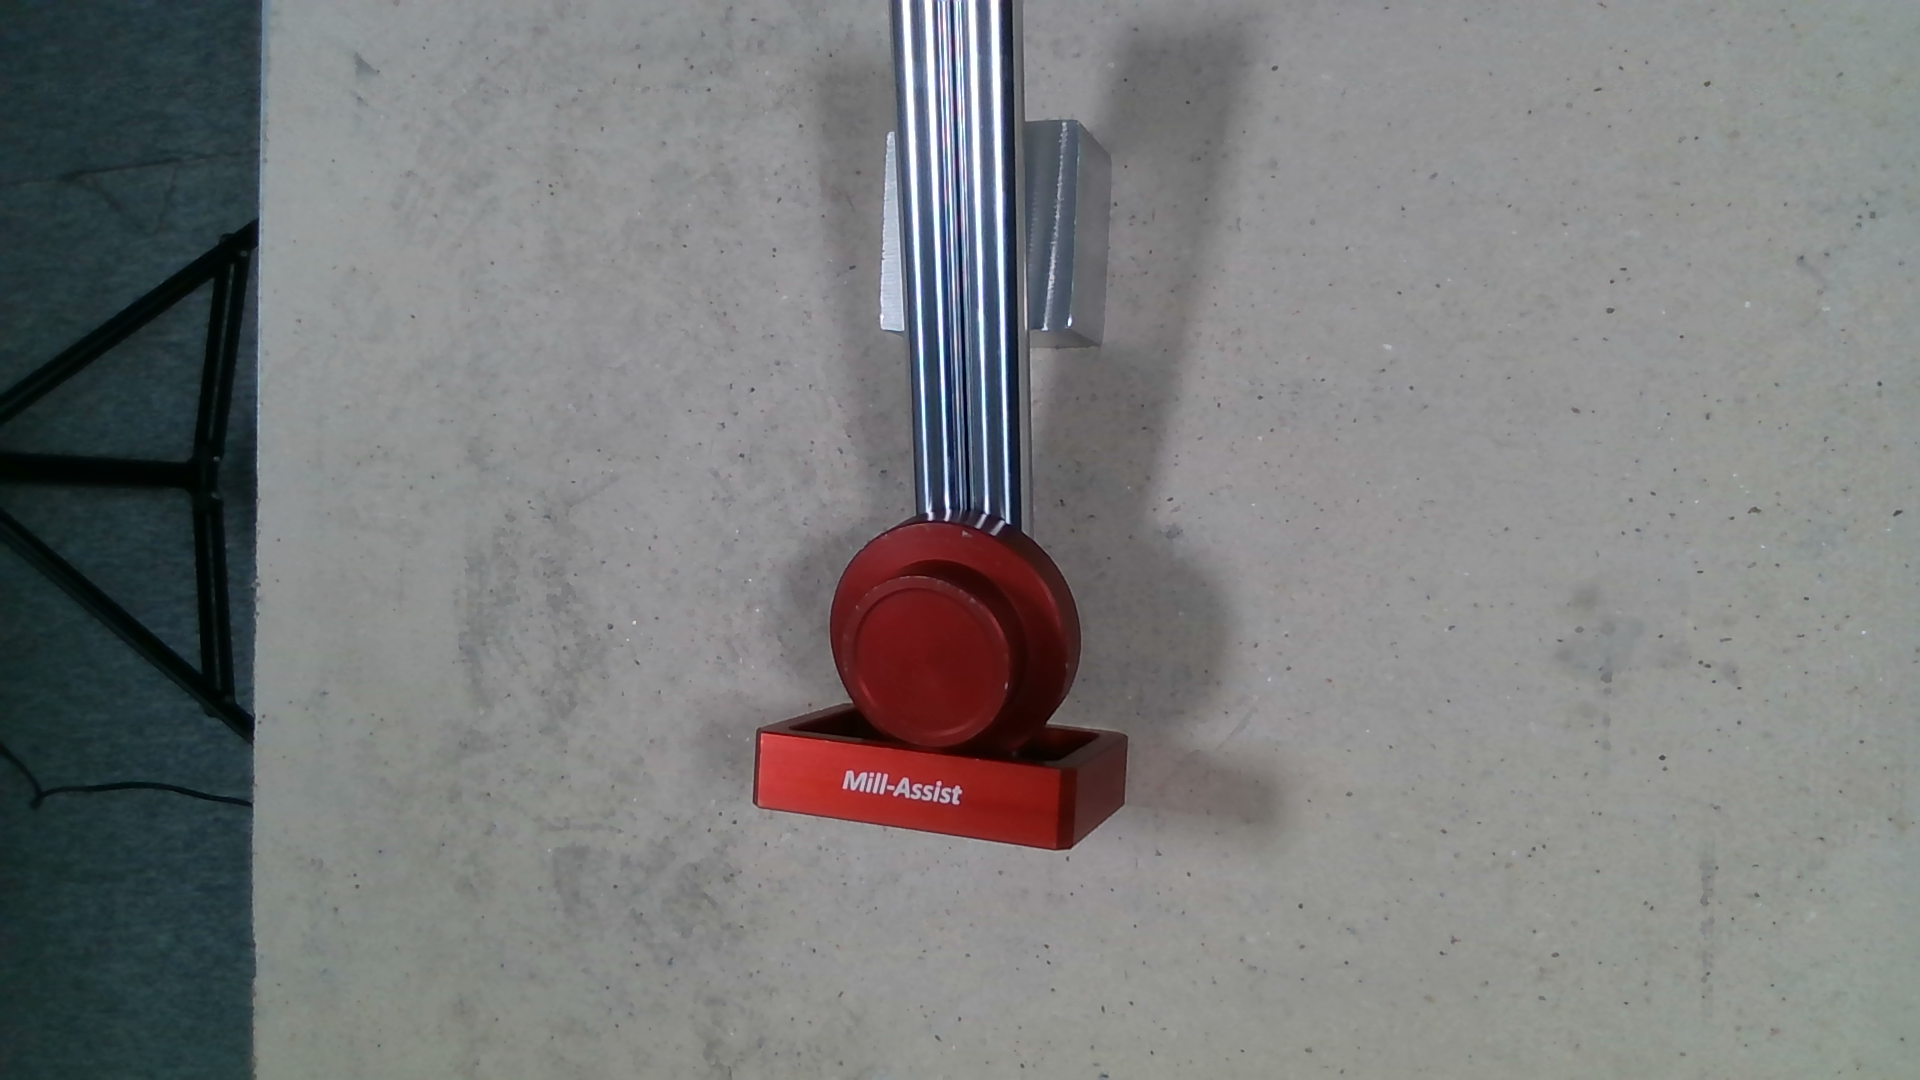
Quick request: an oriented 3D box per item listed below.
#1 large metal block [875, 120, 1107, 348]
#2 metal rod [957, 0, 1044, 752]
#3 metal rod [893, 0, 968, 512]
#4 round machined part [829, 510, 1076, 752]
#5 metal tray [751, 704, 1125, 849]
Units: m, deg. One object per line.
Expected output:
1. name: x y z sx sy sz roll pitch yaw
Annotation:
1. large metal block: 0.014 -0.122 0.562 0.080 0.050 0.080 3 92 20
2. metal rod: 0.017 -0.058 0.531 0.025 0.025 0.300 3 104 20
3. metal rod: -0.009 -0.060 0.540 0.025 0.025 0.300 3 104 20
4. round machined part: -0.007 0.039 0.528 0.098 0.042 0.098 5 103 21
5. metal tray: -0.007 0.092 0.554 0.130 0.090 0.030 4 91 20
